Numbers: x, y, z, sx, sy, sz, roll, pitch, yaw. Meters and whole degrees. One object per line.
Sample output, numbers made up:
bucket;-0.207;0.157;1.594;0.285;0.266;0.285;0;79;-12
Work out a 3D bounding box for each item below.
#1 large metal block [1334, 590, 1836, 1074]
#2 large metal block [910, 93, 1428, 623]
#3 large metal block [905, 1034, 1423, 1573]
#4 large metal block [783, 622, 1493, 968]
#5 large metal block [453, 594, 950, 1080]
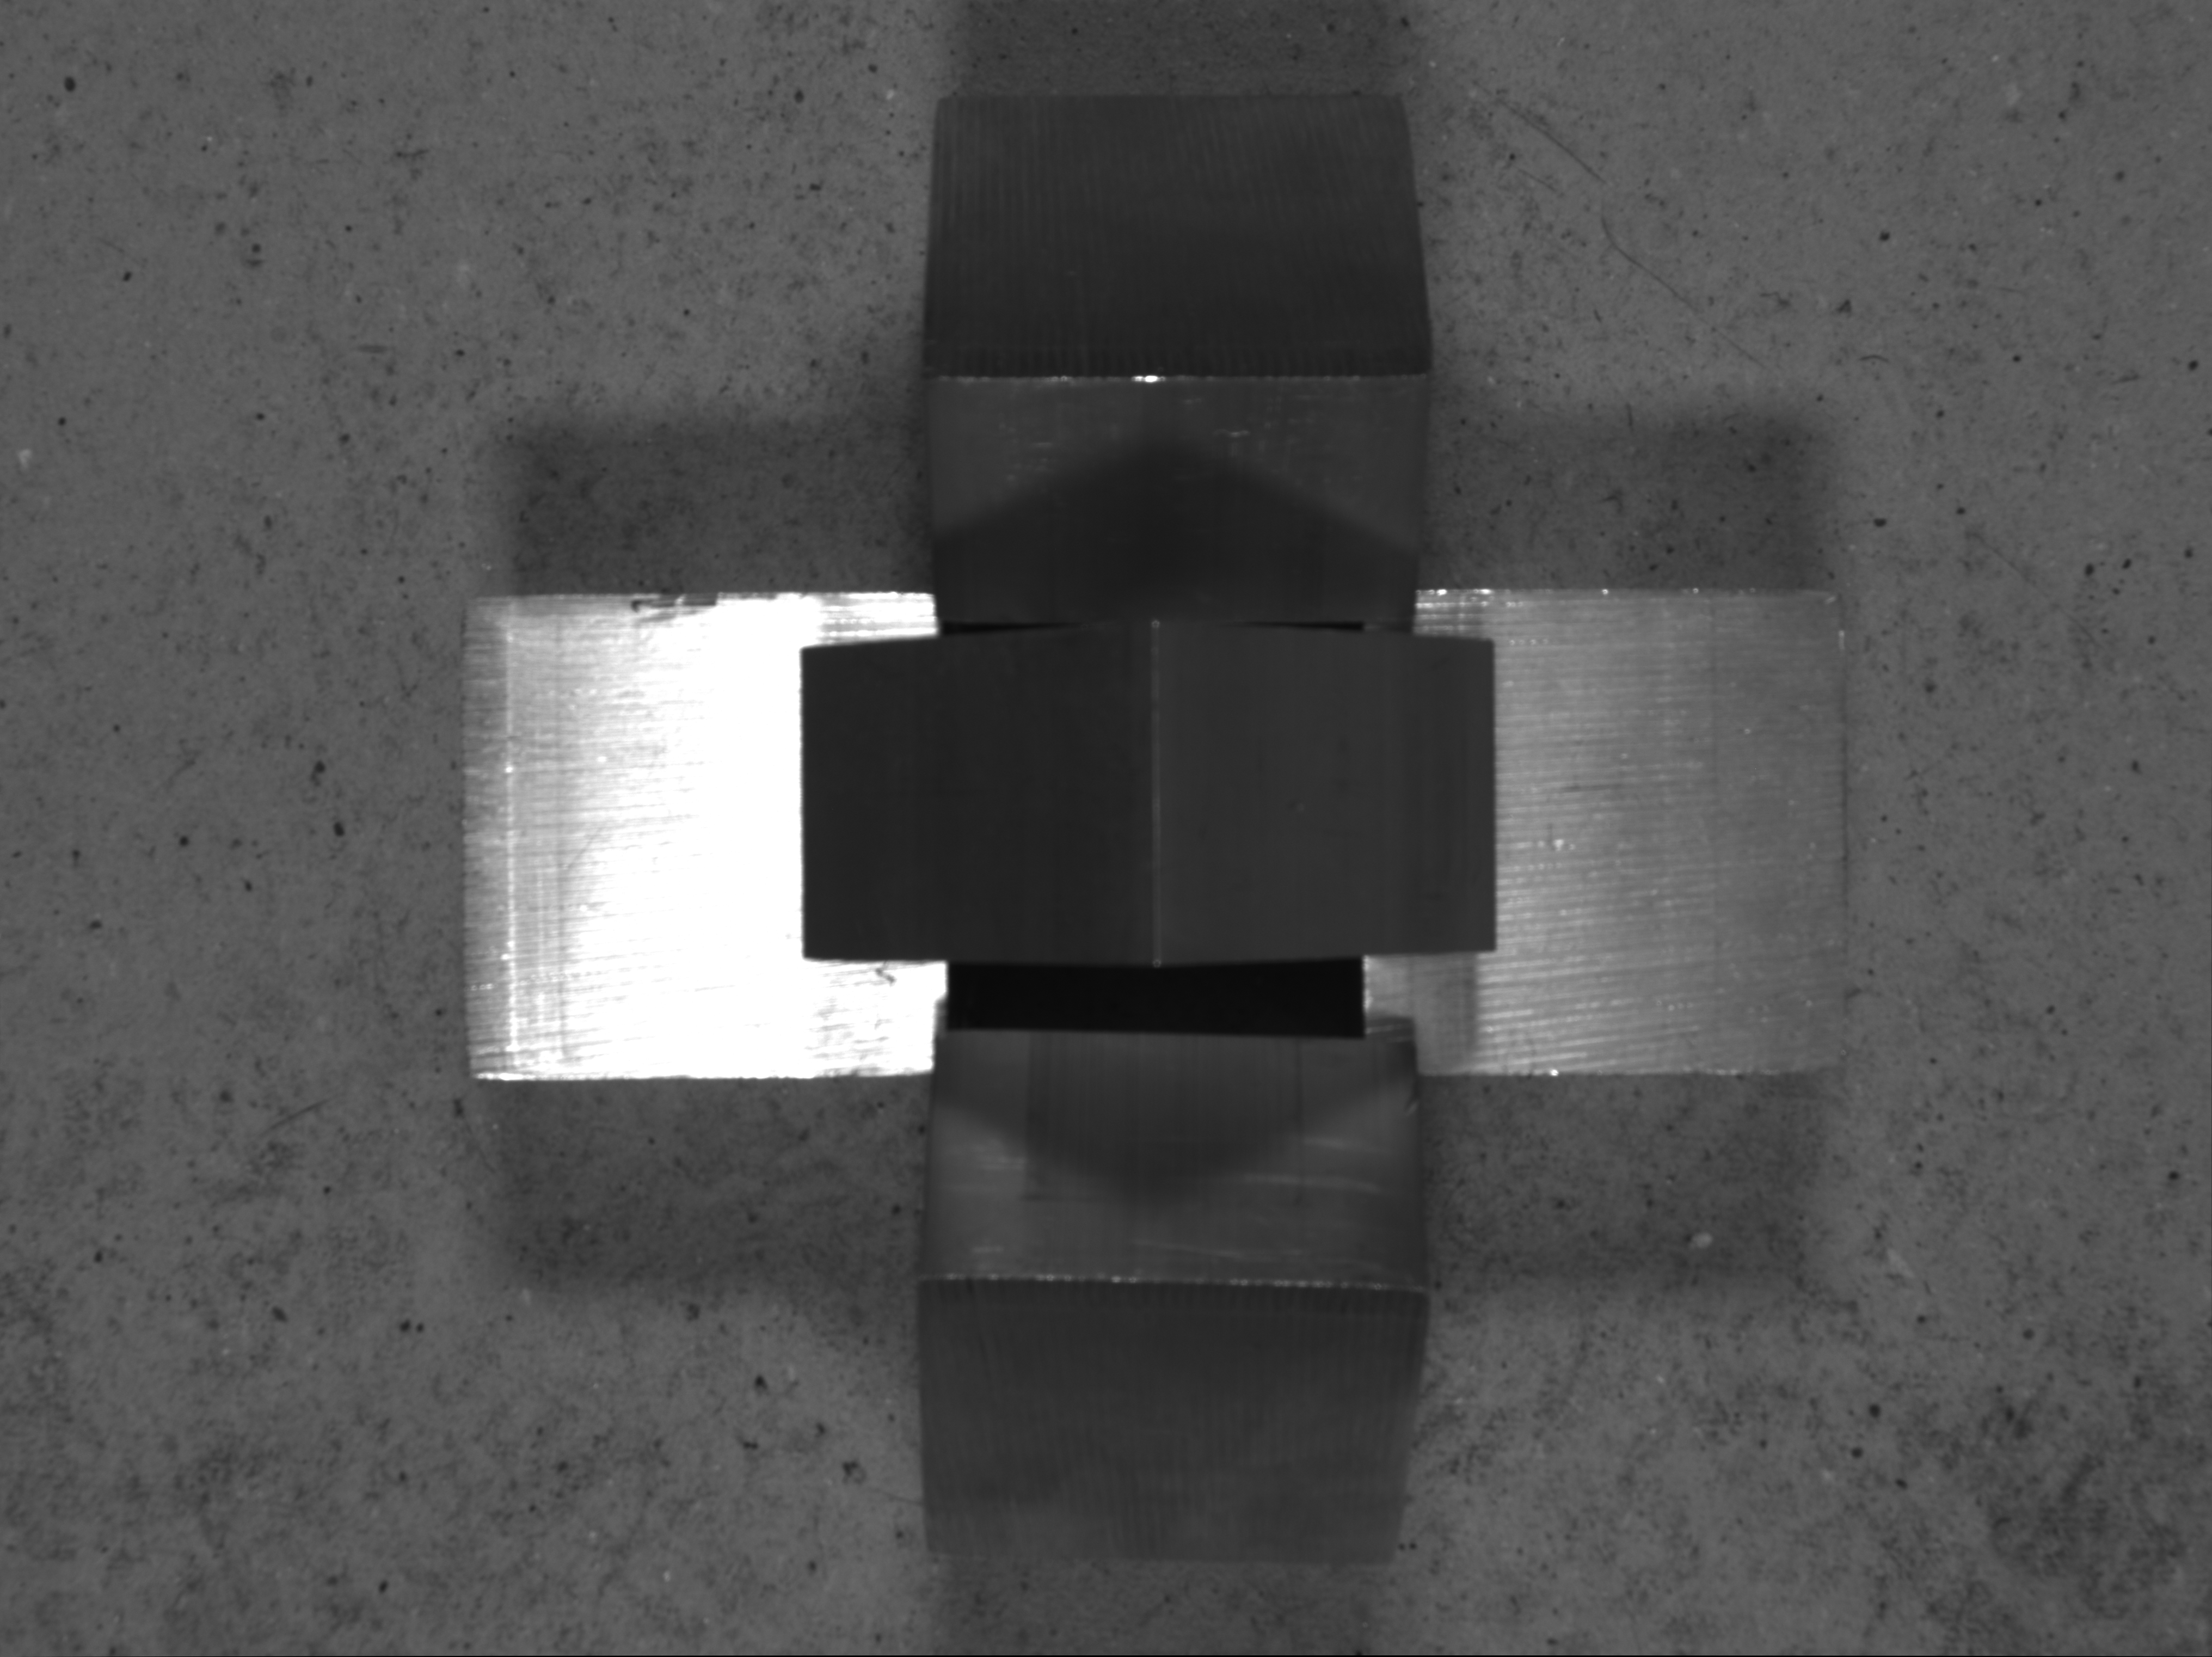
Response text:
large metal block;0.081;0.001;0.631;0.080;0.050;0.080;0;90;0
large metal block;0.010;-0.079;0.612;0.080;0.080;0.050;0;134;0
large metal block;0.009;0.080;0.612;0.080;0.080;0.050;1;47;1
large metal block;0.005;-0.005;0.585;0.080;0.080;0.050;-1;90;44
large metal block;-0.068;0.001;0.632;0.080;0.050;0.080;0;90;0
